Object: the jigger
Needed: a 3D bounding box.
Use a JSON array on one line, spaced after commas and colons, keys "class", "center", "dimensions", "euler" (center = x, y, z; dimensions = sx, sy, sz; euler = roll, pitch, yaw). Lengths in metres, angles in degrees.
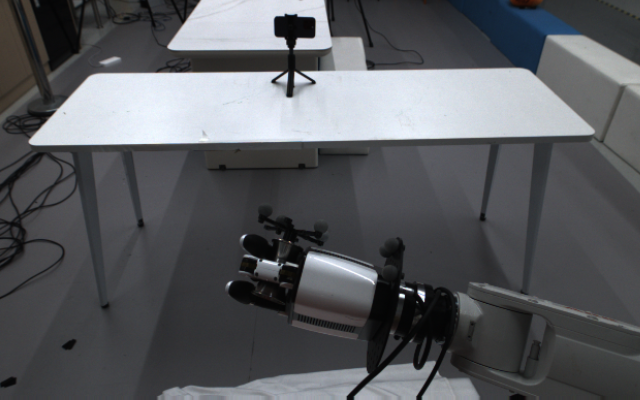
[{"class": "jigger", "center": [-0.046, 0.084, 0.572], "dimensions": [0.043, 0.043, 0.071], "euler": [12, 71, 14]}]
